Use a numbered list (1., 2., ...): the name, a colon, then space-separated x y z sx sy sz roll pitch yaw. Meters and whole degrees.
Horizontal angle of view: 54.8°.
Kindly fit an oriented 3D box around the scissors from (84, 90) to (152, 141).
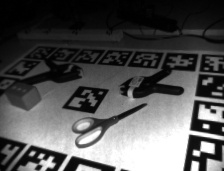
1. scissors: 0.026 0.059 0.545 0.204 0.016 0.086 -31 50 -25

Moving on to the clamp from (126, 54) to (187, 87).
1. clamp: 0.119 -0.035 0.634 0.165 0.037 0.120 -17 46 -6

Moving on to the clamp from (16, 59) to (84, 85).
1. clamp: -0.192 -0.048 0.722 0.201 0.037 0.165 -1 37 12

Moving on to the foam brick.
1. foam brick: -0.241 0.035 0.624 0.077 0.052 0.053 3 42 25
